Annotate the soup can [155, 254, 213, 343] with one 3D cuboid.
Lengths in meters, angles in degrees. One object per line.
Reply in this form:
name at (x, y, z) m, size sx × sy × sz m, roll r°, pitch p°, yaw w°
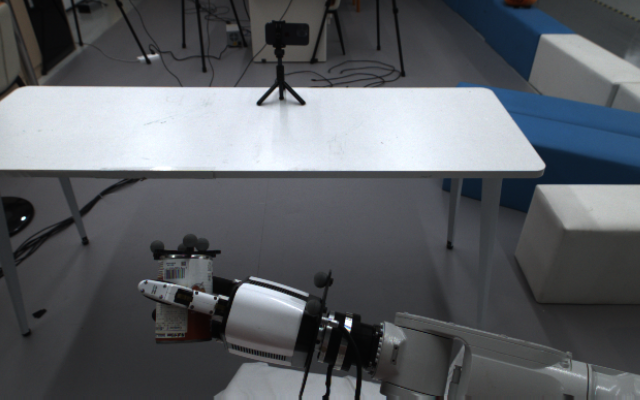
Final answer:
soup can at (-0.163, 0.123, 0.592) m, size 0.067 × 0.067 × 0.101 m, roll -1°, pitch 77°, yaw -5°
